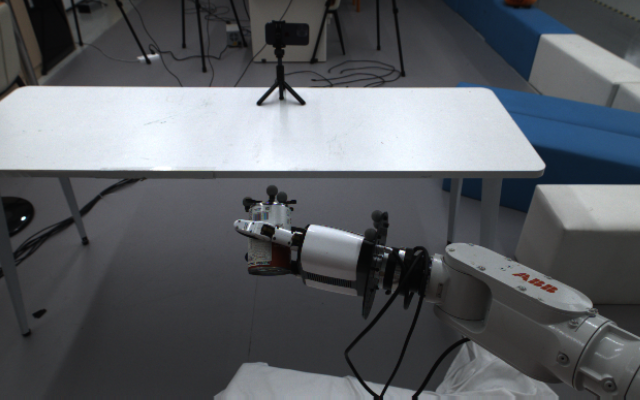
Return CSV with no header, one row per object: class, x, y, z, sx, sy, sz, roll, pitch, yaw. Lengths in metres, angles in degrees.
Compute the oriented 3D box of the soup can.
soup can,-0.075,0.061,0.739,0.067,0.067,0.101,-1,71,-5
